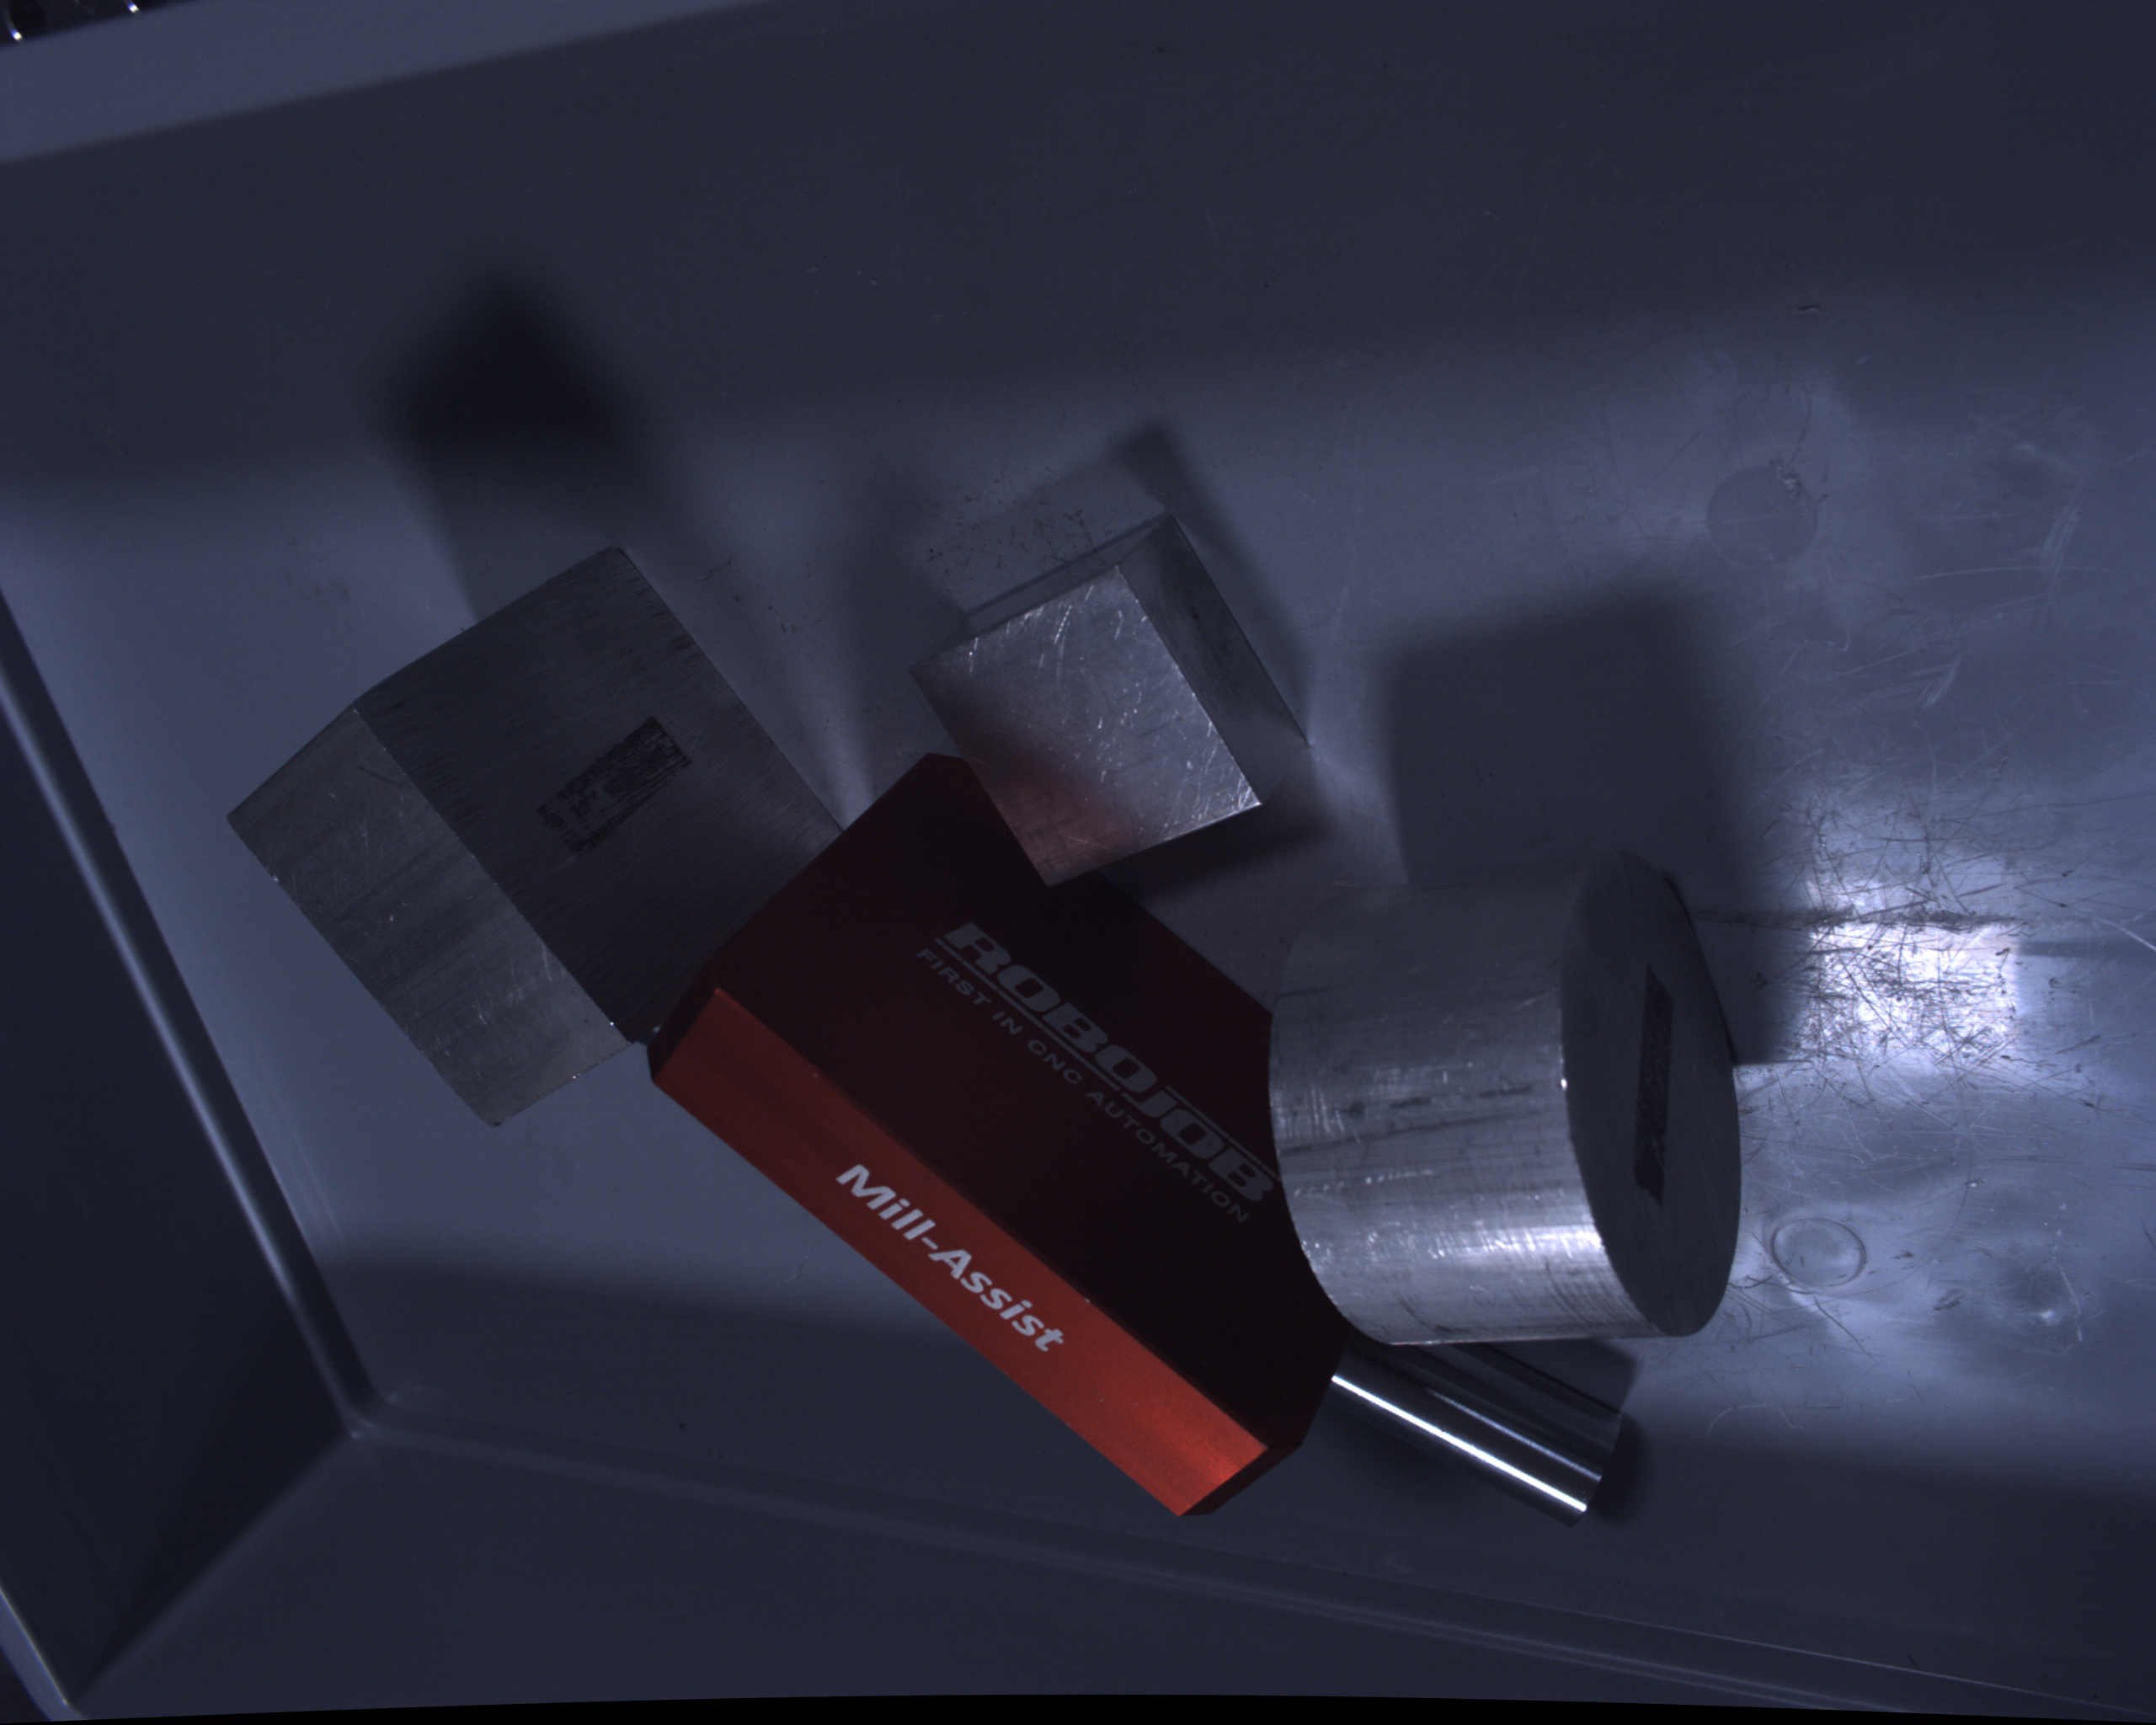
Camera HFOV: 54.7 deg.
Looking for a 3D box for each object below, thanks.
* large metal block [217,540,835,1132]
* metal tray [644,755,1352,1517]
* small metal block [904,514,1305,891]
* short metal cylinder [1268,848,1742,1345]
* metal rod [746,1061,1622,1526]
[{"bbox_3d":[-0.107,-0.007,0.421,0.050,0.080,0.080,-29,102,37],"label":"large metal block"},{"bbox_3d":[-0.004,0.047,0.394,0.130,0.090,0.030,40,128,1],"label":"metal tray"},{"bbox_3d":[0.005,-0.029,0.384,0.050,0.025,0.050,-22,107,35],"label":"small metal block"},{"bbox_3d":[0.075,0.041,0.356,0.050,0.080,0.080,-12,113,34],"label":"short metal cylinder"},{"bbox_3d":[-0.027,0.061,0.457,0.301,0.025,0.025,25,127,12],"label":"metal rod"}]
